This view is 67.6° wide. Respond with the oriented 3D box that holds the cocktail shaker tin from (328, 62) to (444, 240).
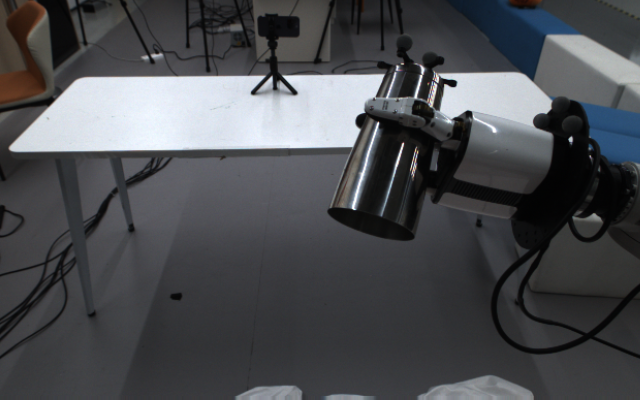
[{"bbox_3d":[0.079,-0.052,0.507,0.093,0.093,0.170,14,75,17],"label":"cocktail shaker tin"}]
